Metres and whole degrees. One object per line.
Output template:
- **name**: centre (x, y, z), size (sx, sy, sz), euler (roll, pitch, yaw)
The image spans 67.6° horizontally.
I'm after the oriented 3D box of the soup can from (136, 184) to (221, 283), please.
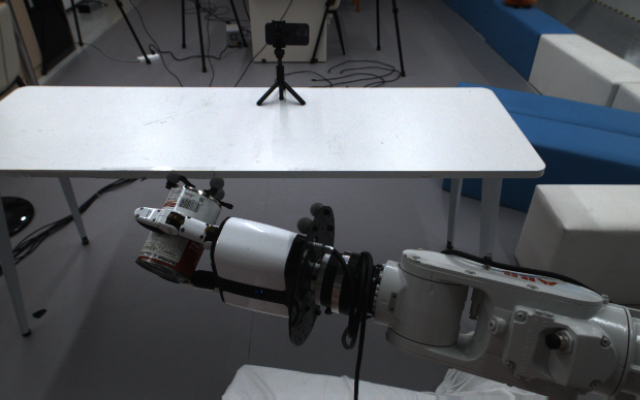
- **soup can**: centre (-0.168, 0.043, 0.588), size (0.067, 0.067, 0.101), euler (13, 66, 15)
